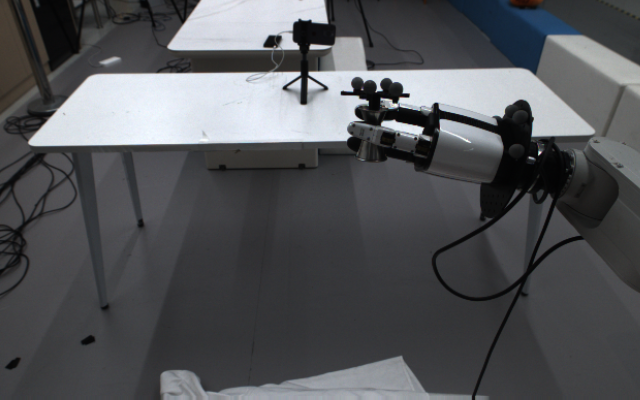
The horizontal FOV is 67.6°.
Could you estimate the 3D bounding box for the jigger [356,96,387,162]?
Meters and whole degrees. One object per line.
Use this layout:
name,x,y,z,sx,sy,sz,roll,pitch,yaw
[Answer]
jigger,0.069,-0.090,0.648,0.043,0.071,0.043,1,20,0
